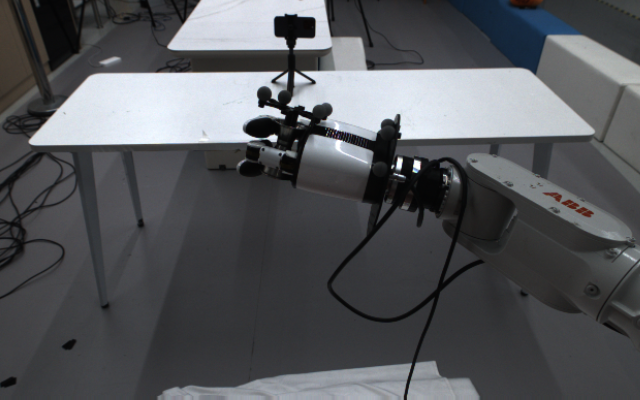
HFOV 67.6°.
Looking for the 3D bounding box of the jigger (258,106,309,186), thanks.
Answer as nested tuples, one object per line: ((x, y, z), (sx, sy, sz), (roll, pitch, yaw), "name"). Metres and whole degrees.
((-0.043, -0.064, 0.614), (0.043, 0.071, 0.043), (15, 17, -5), "jigger")
